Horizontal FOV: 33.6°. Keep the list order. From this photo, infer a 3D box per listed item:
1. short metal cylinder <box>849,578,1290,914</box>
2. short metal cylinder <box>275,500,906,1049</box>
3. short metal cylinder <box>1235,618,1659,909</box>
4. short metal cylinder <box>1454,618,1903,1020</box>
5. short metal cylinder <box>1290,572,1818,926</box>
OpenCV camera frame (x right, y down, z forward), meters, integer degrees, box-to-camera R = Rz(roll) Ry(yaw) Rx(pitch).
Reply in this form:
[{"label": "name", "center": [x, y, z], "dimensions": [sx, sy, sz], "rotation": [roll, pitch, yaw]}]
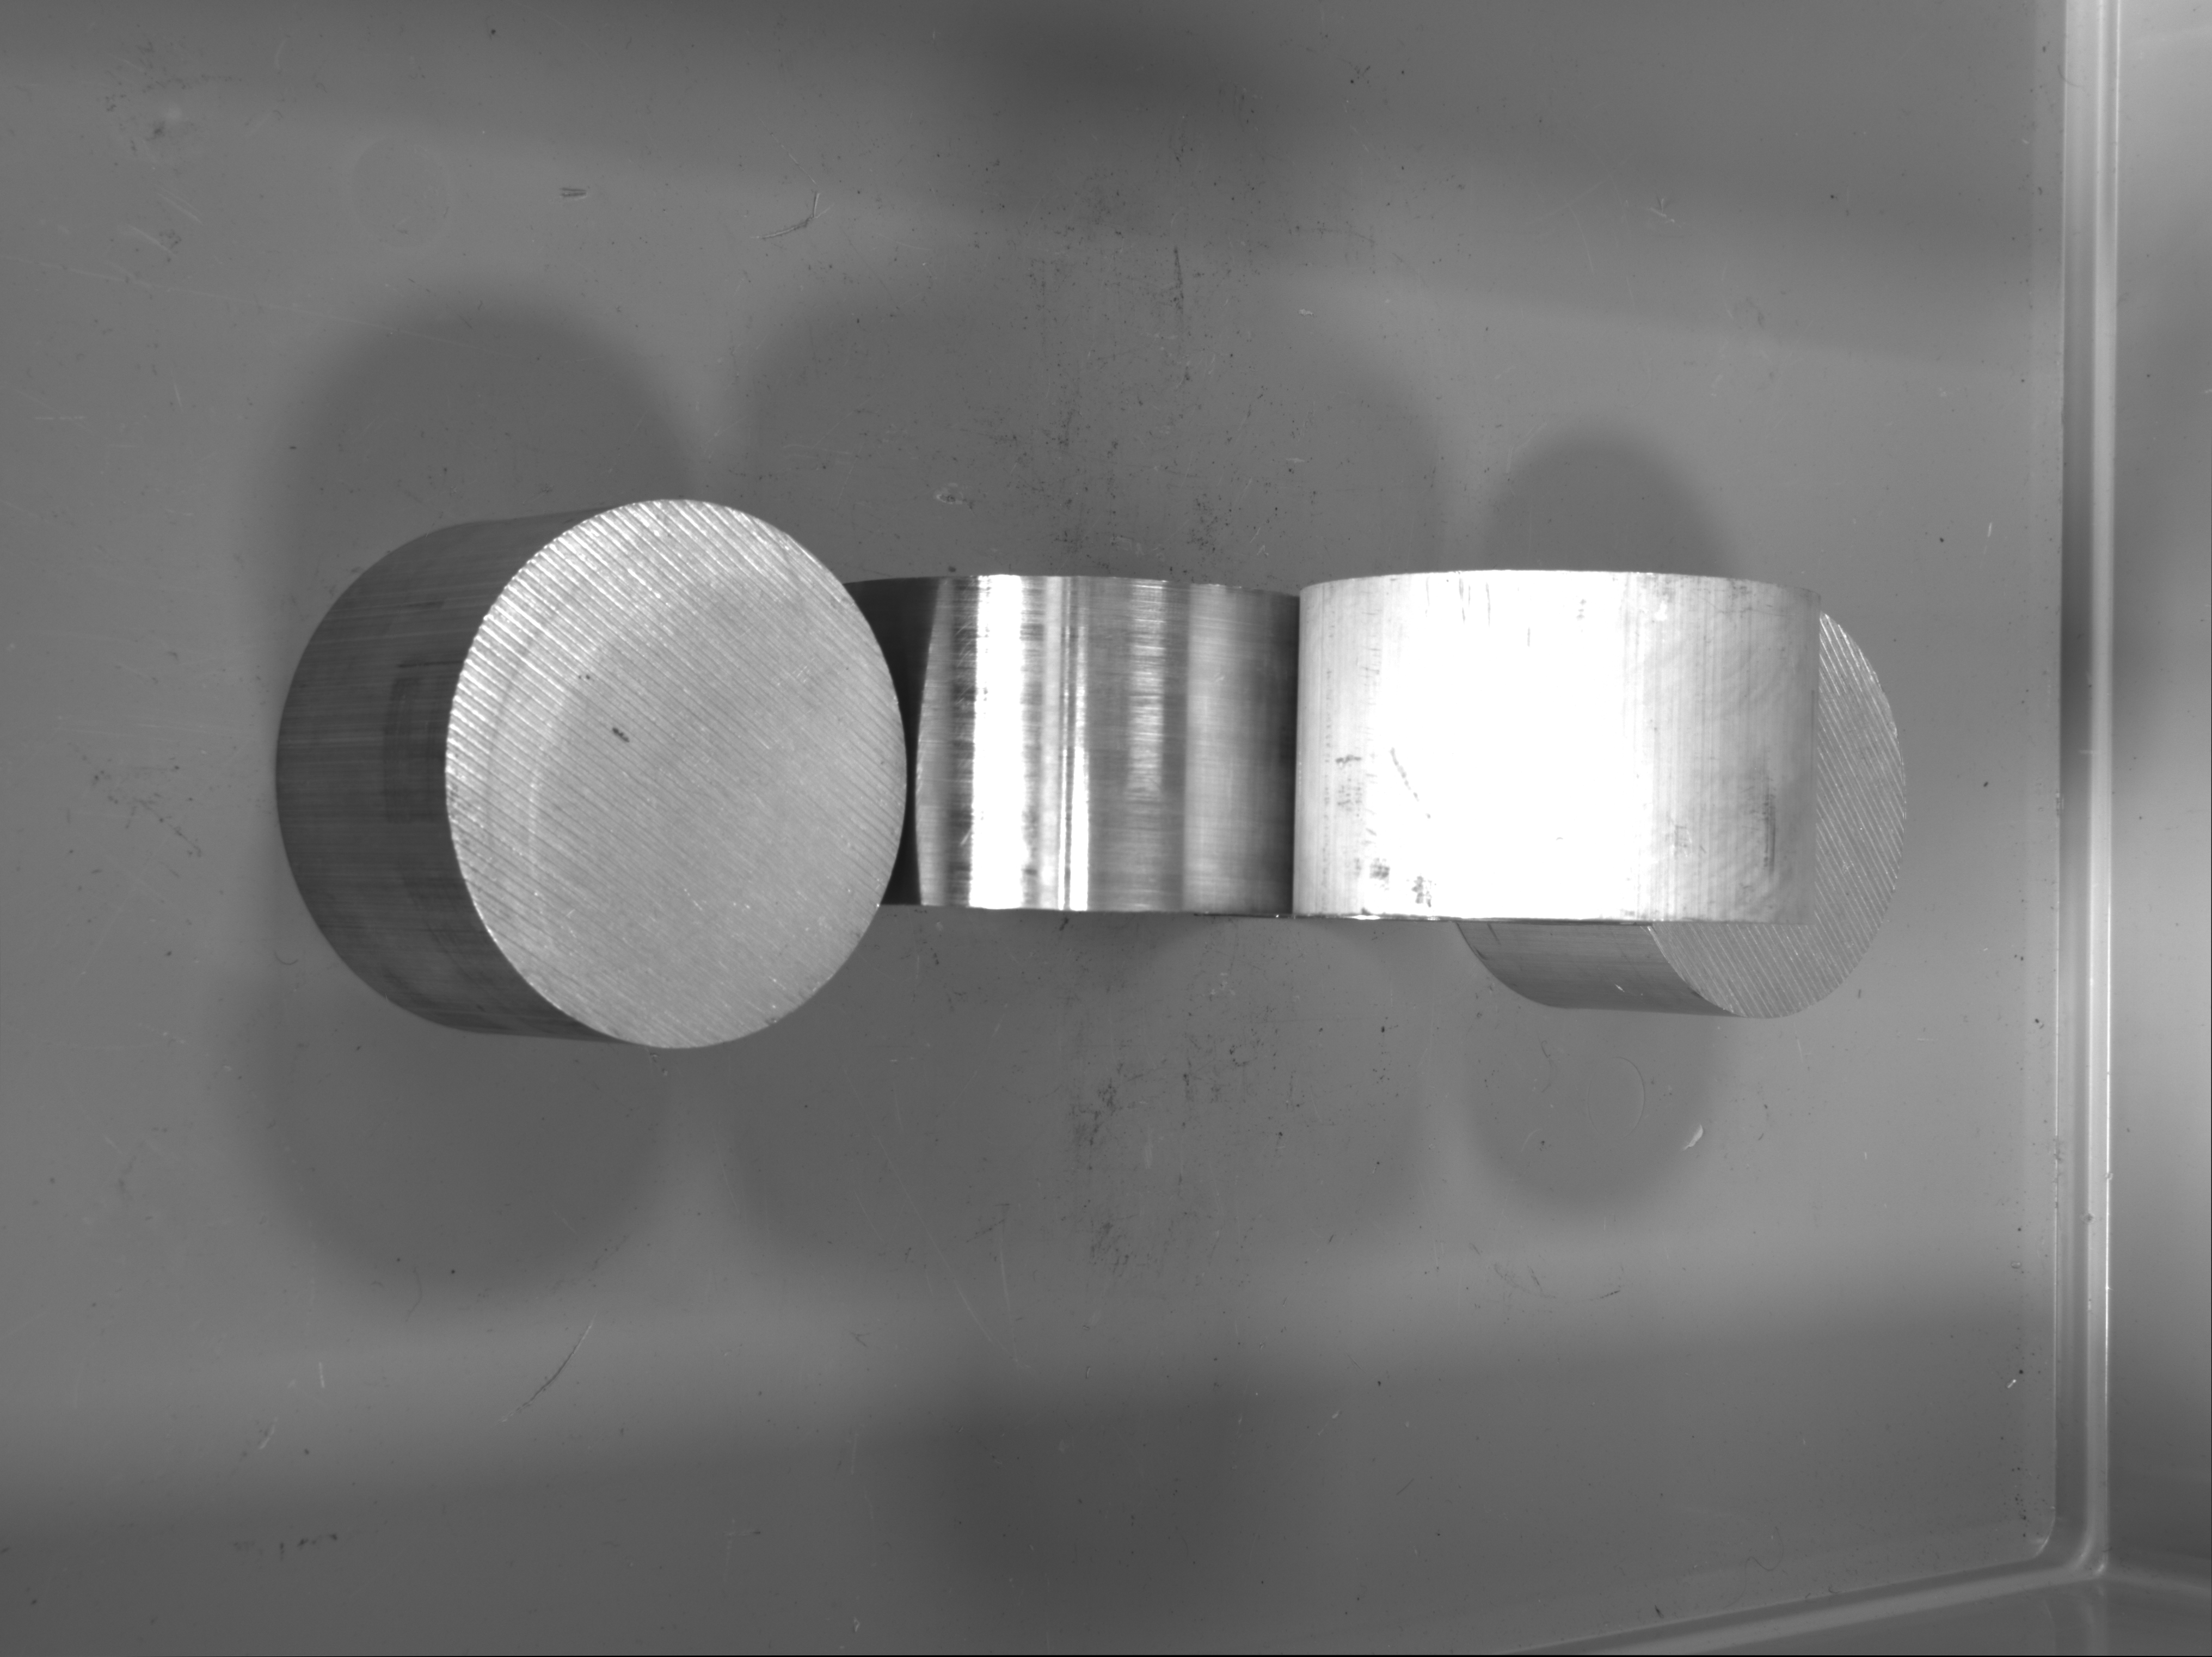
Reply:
[{"label": "short metal cylinder", "center": [-0.005, -0.012, 0.594], "dimensions": [0.080, 0.080, 0.050], "rotation": [2, 88, -40]}, {"label": "short metal cylinder", "center": [-0.077, -0.008, 0.554], "dimensions": [0.080, 0.050, 0.080], "rotation": [0, 90, -40]}, {"label": "short metal cylinder", "center": [0.057, -0.009, 0.645], "dimensions": [0.080, 0.080, 0.050], "rotation": [2, 88, -40]}, {"label": "short metal cylinder", "center": [0.108, -0.004, 0.708], "dimensions": [0.080, 0.050, 0.080], "rotation": [0, 90, -40]}, {"label": "short metal cylinder", "center": [0.069, -0.011, 0.567], "dimensions": [0.080, 0.080, 0.050], "rotation": [2, 88, -40]}]
